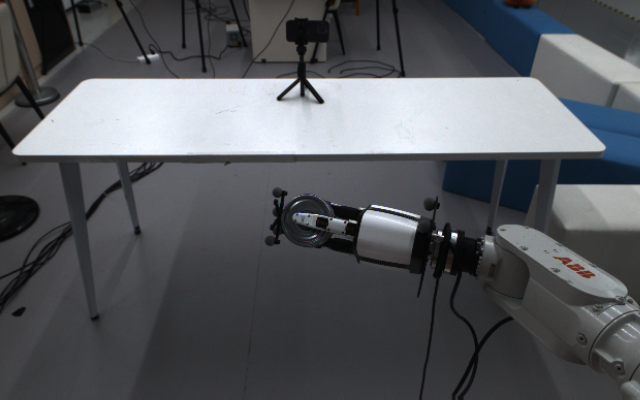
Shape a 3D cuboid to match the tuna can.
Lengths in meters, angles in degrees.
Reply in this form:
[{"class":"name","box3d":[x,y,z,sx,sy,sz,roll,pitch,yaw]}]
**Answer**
[{"class":"tuna can","box3d":[-0.017,0.032,0.779,0.085,0.085,0.034,9,-6,10]}]
